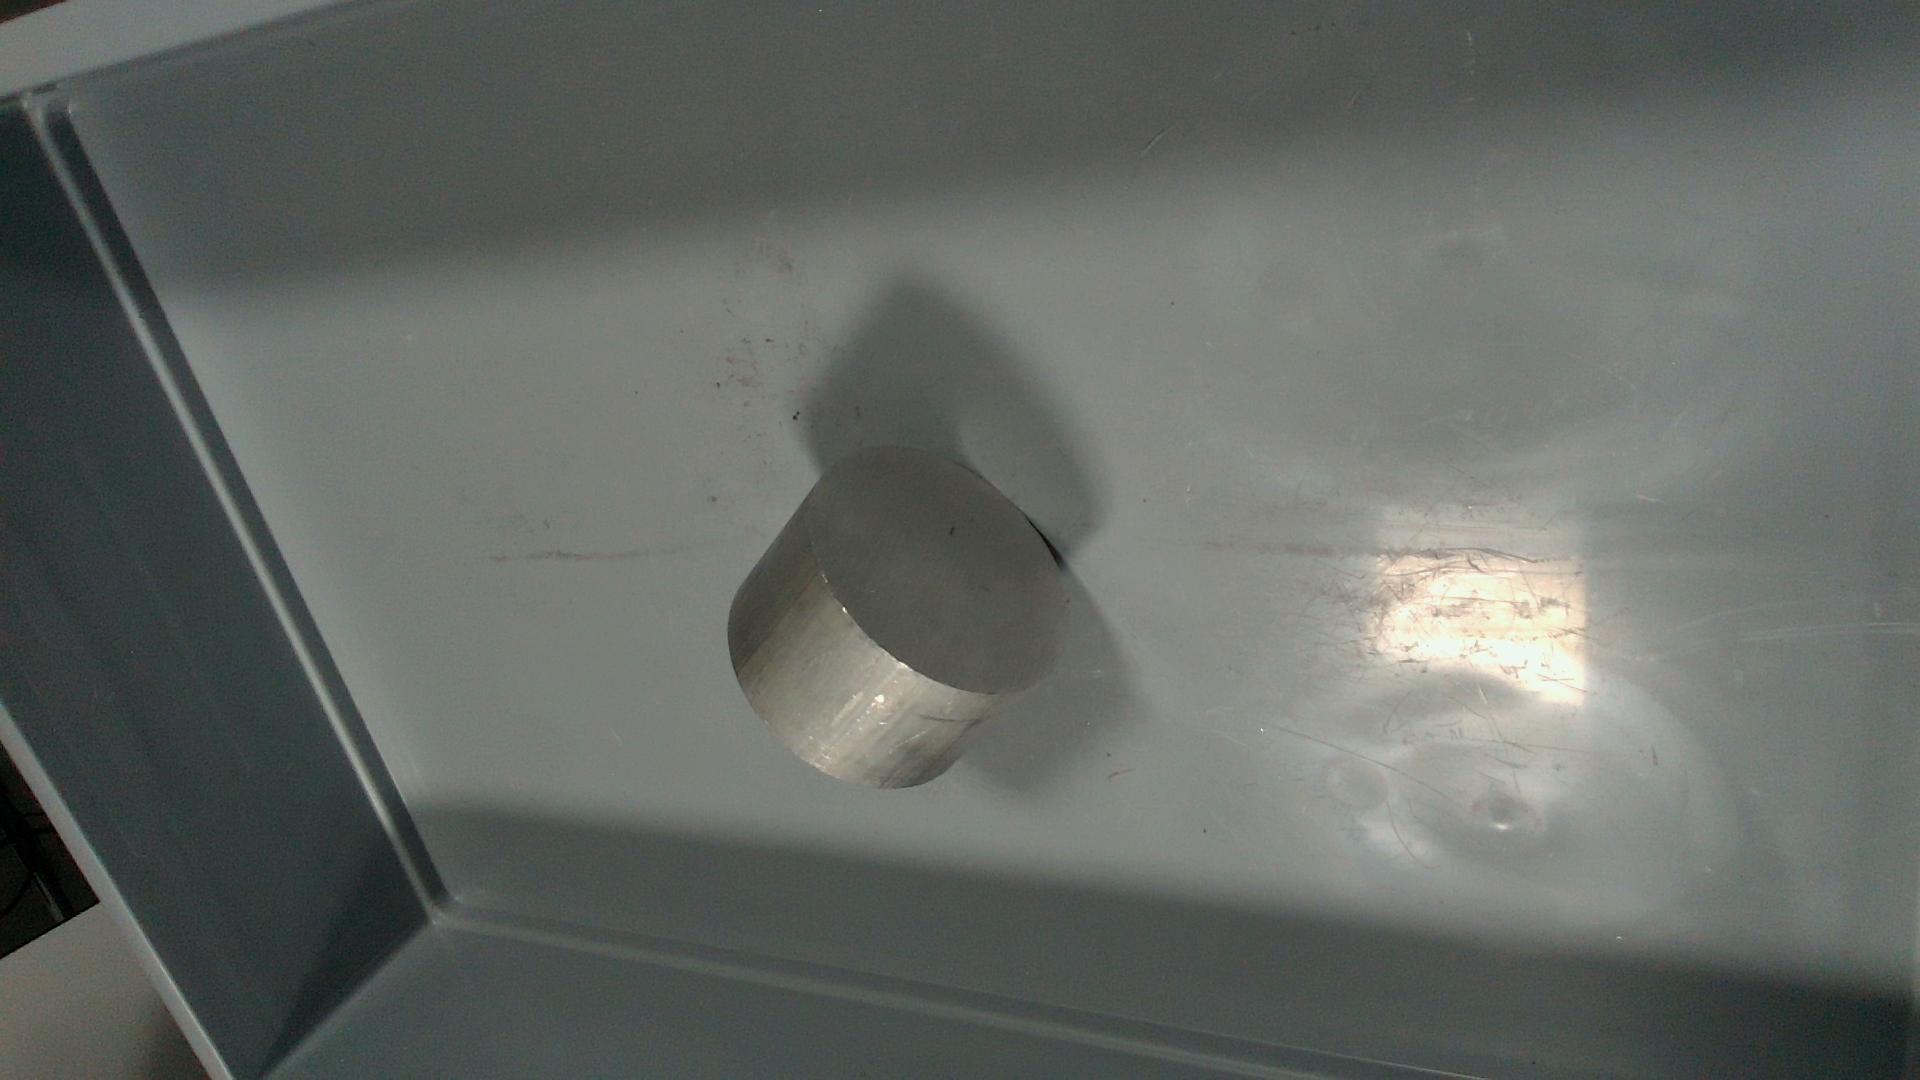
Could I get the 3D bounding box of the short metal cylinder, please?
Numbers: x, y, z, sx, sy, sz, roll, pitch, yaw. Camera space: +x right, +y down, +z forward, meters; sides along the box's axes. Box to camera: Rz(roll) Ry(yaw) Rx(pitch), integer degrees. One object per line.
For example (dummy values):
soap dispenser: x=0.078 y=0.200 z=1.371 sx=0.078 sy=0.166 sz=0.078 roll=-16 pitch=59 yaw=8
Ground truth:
short metal cylinder: x=-0.017 y=0.021 z=0.377 sx=0.080 sy=0.080 sz=0.050 roll=41 pitch=129 yaw=0
